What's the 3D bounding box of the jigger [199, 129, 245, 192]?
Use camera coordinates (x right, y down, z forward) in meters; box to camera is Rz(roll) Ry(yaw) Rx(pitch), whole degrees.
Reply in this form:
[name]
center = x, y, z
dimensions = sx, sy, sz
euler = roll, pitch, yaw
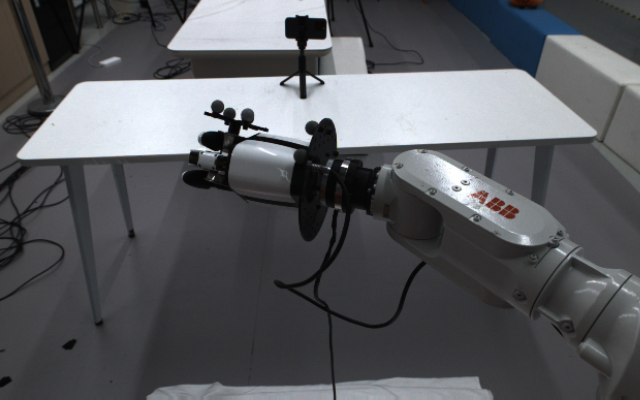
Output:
[jigger]
center = -0.125, -0.055, 0.648
dimensions = 0.043, 0.071, 0.043
euler = 16, 2, -1
